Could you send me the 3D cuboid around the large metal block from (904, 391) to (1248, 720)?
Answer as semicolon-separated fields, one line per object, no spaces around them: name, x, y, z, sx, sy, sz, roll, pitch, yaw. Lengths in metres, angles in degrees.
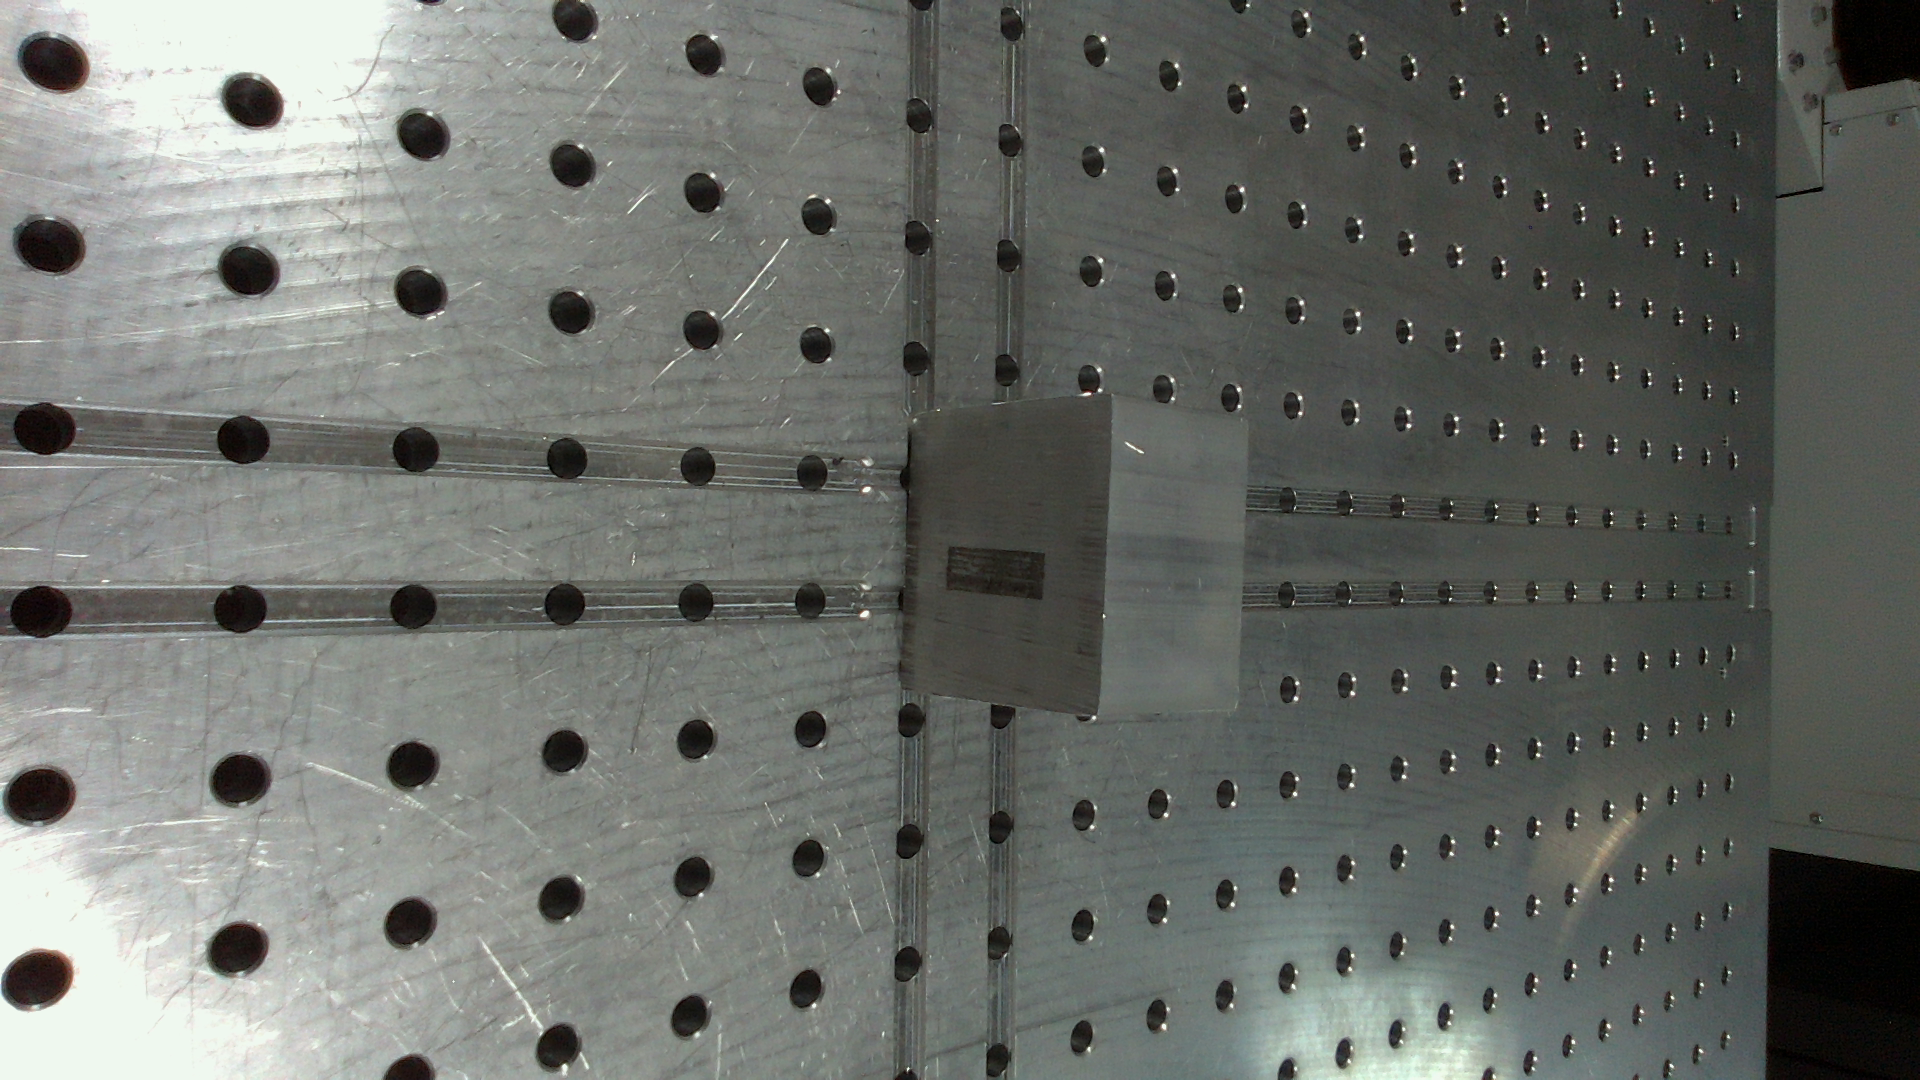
large metal block;0.030;0.005;0.381;0.050;0.080;0.080;4;87;-40
